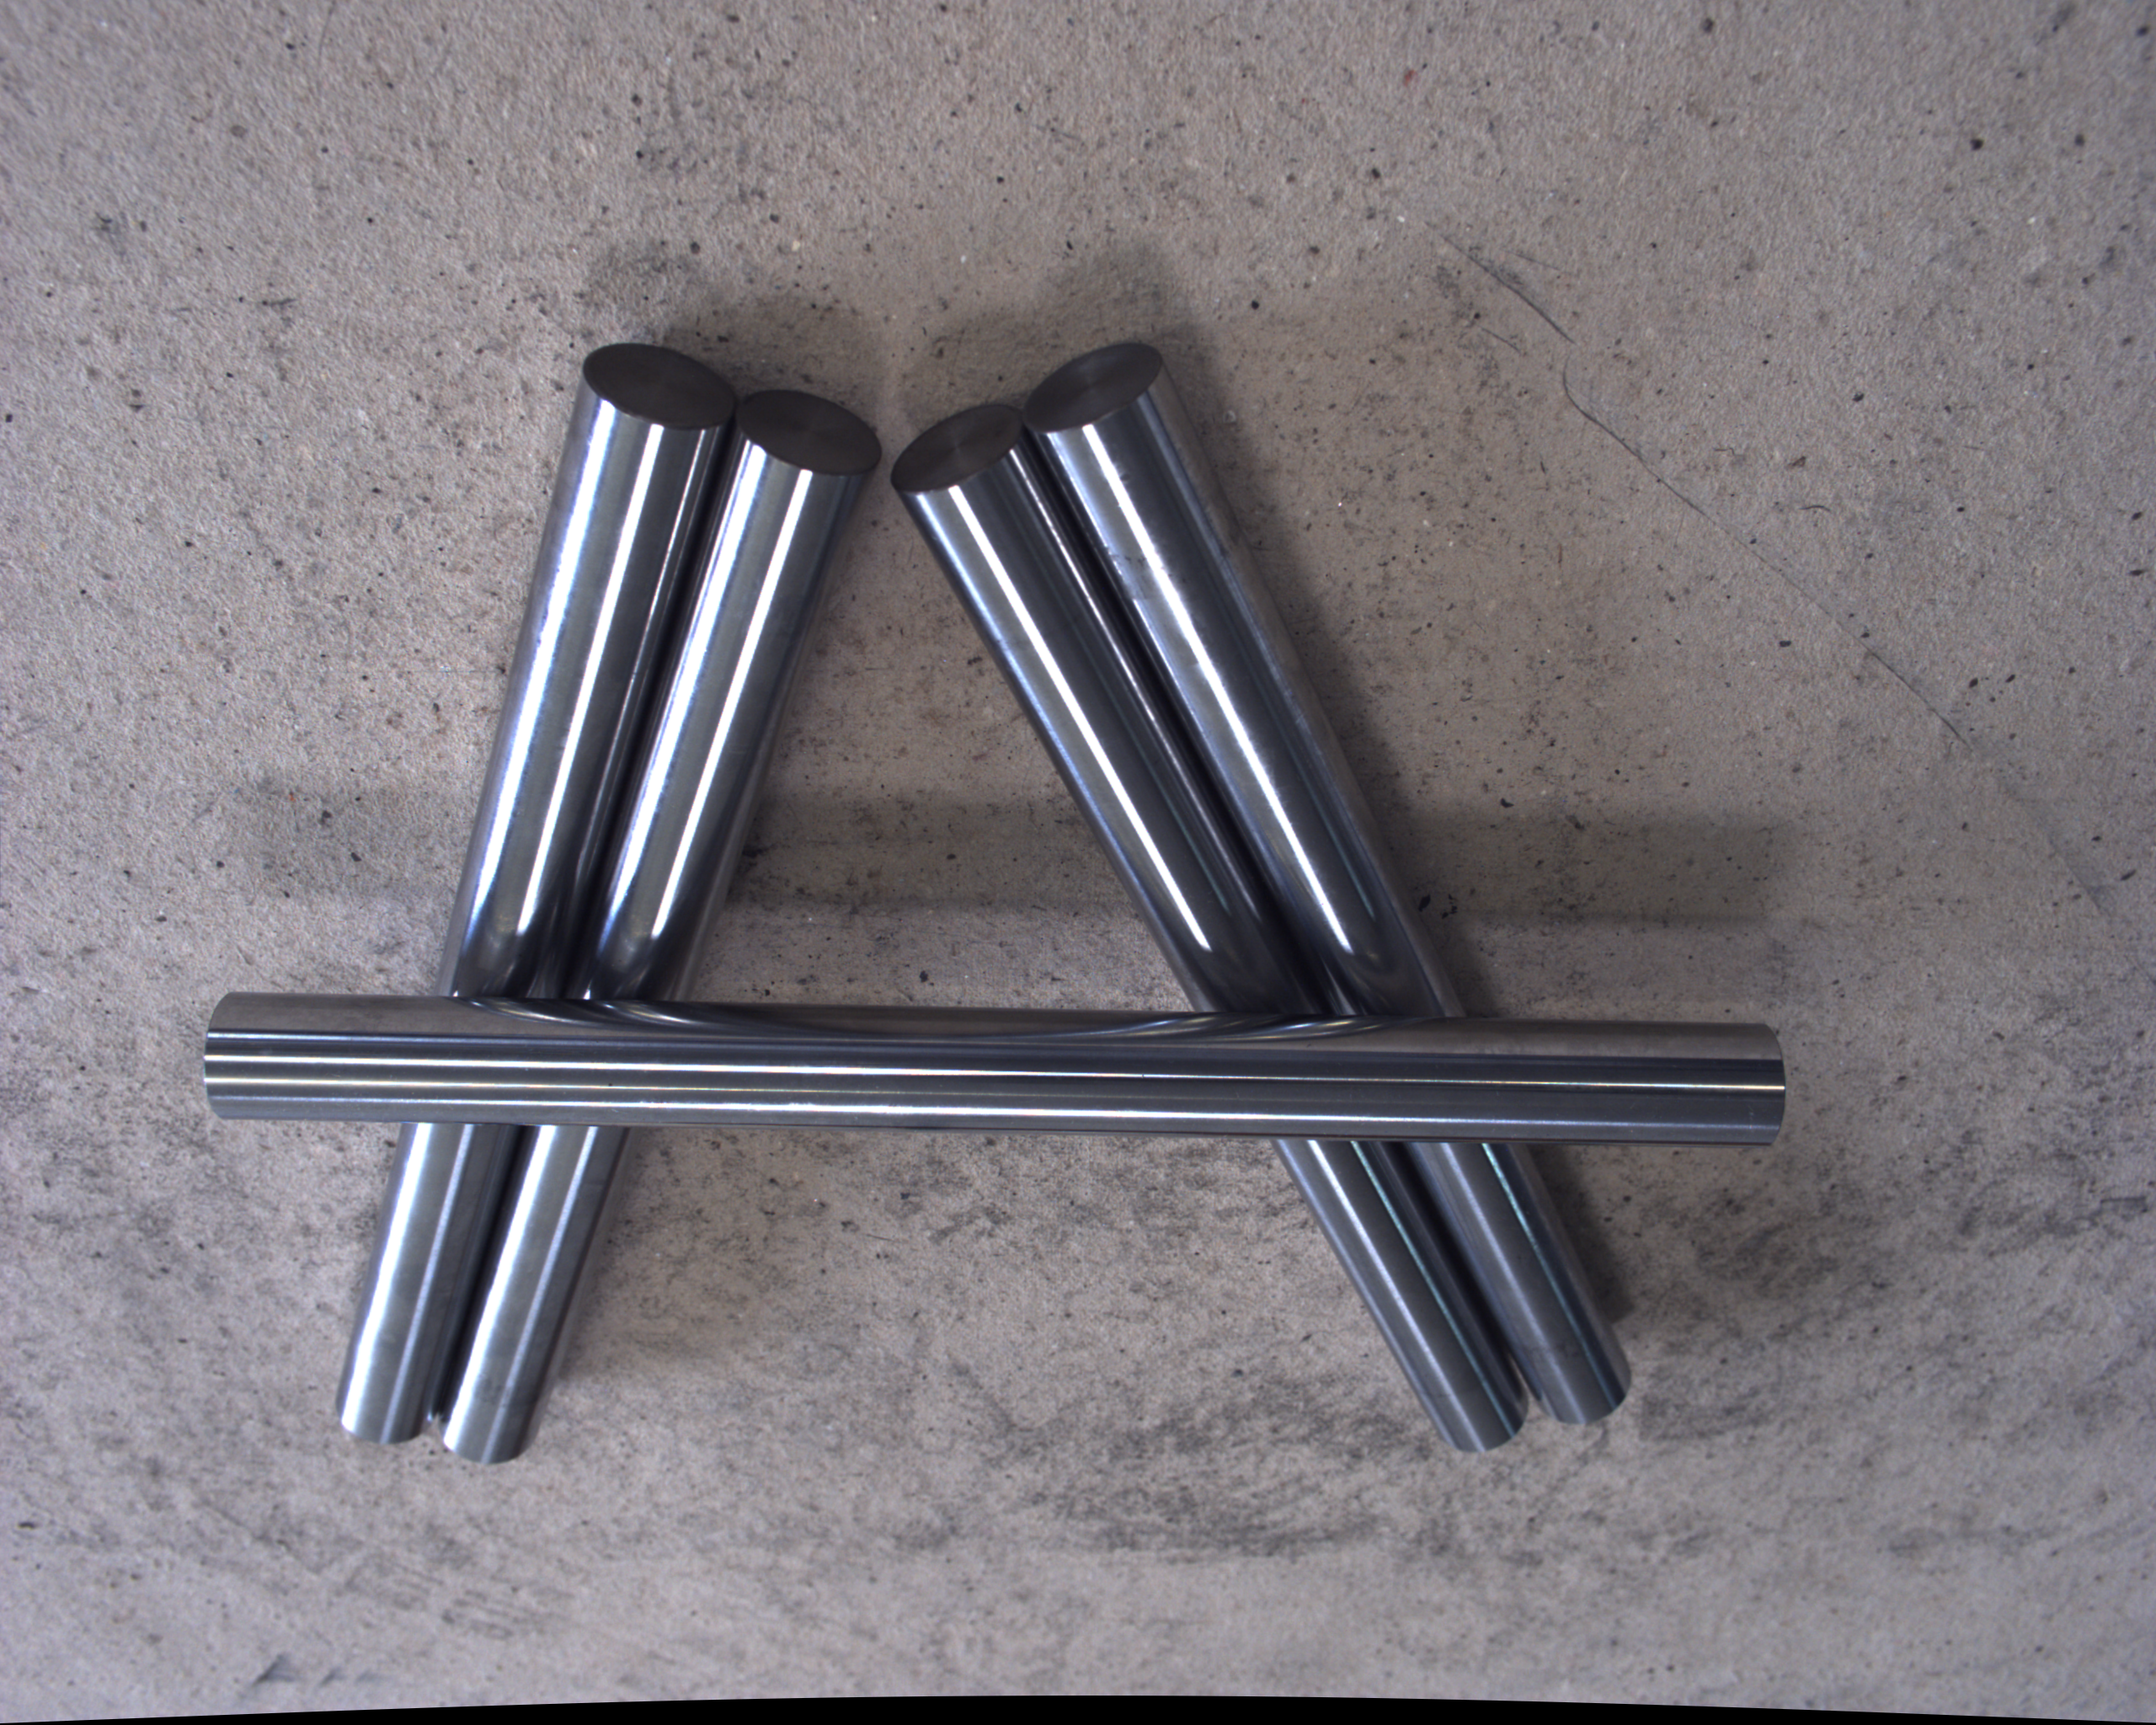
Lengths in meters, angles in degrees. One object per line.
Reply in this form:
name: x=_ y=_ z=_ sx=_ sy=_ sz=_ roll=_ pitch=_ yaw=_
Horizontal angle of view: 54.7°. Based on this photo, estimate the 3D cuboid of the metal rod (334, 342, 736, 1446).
metal rod: x=-0.121 y=0.028 z=0.431 sx=0.025 sy=0.025 sz=0.298 roll=16 pitch=128 yaw=-13

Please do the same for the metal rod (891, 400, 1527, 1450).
metal rod: x=0.041 y=0.034 z=0.438 sx=0.025 sy=0.025 sz=0.299 roll=-19 pitch=128 yaw=15

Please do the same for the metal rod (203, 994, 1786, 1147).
metal rod: x=-0.015 y=0.041 z=0.410 sx=0.302 sy=0.025 sz=0.025 roll=1 pitch=130 yaw=-2

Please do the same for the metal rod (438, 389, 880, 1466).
metal rod: x=-0.097 y=0.035 z=0.437 sx=0.025 sy=0.025 sz=0.298 roll=16 pitch=128 yaw=-13

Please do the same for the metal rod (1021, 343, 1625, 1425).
metal rod: x=0.063 y=0.026 z=0.431 sx=0.025 sy=0.025 sz=0.299 roll=-19 pitch=128 yaw=15
